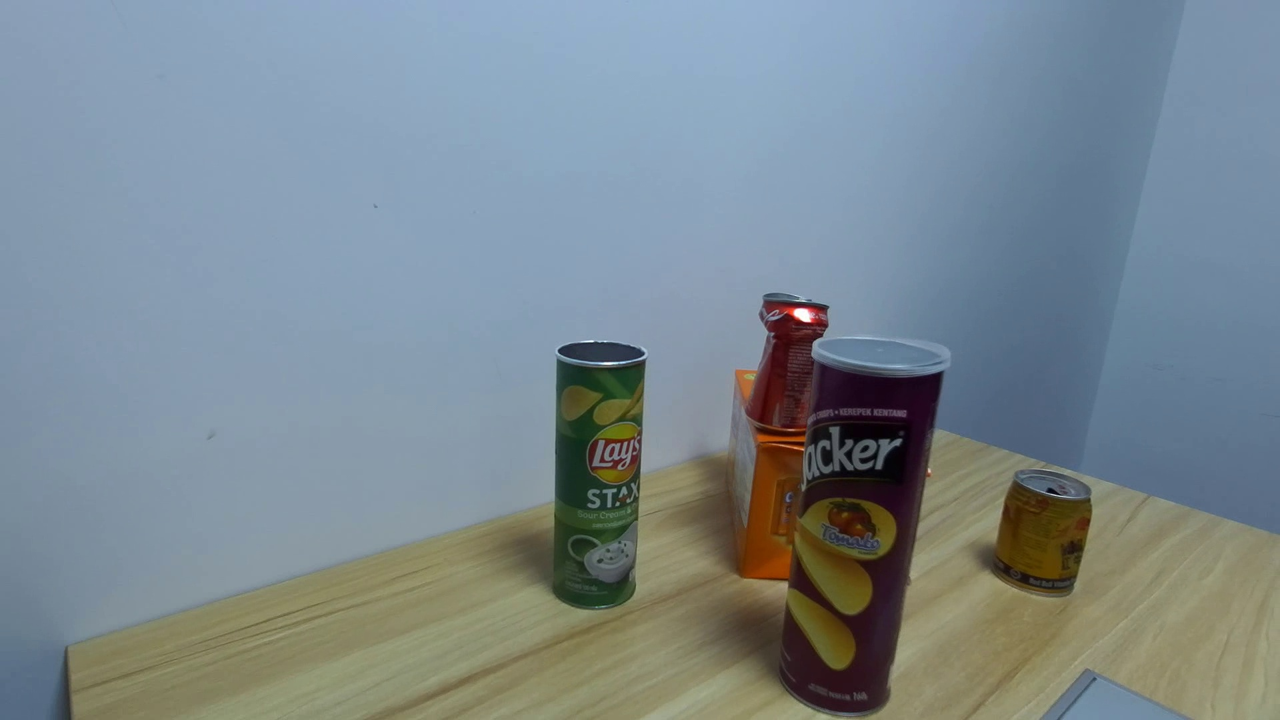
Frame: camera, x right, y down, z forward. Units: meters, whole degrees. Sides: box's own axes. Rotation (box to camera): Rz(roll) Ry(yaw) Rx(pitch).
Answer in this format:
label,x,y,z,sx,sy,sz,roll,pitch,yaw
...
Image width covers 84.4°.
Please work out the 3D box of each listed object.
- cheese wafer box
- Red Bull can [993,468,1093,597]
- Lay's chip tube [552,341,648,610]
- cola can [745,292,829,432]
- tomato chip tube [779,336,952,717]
label,x,y,z,sx,sy,sz,roll,pitch,yaw
cheese wafer box,0.175,0.102,0.702,0.149,0.137,0.227,3,15,2
Red Bull can,0.353,0.150,0.620,0.069,0.092,0.069,3,14,0
Lay's chip tube,-0.032,0.089,0.556,0.071,0.202,0.071,3,15,0
cola can,0.126,0.002,0.596,0.065,0.112,0.069,9,17,23
tomato chip tube,0.139,0.107,0.455,0.078,0.234,0.078,2,16,0
